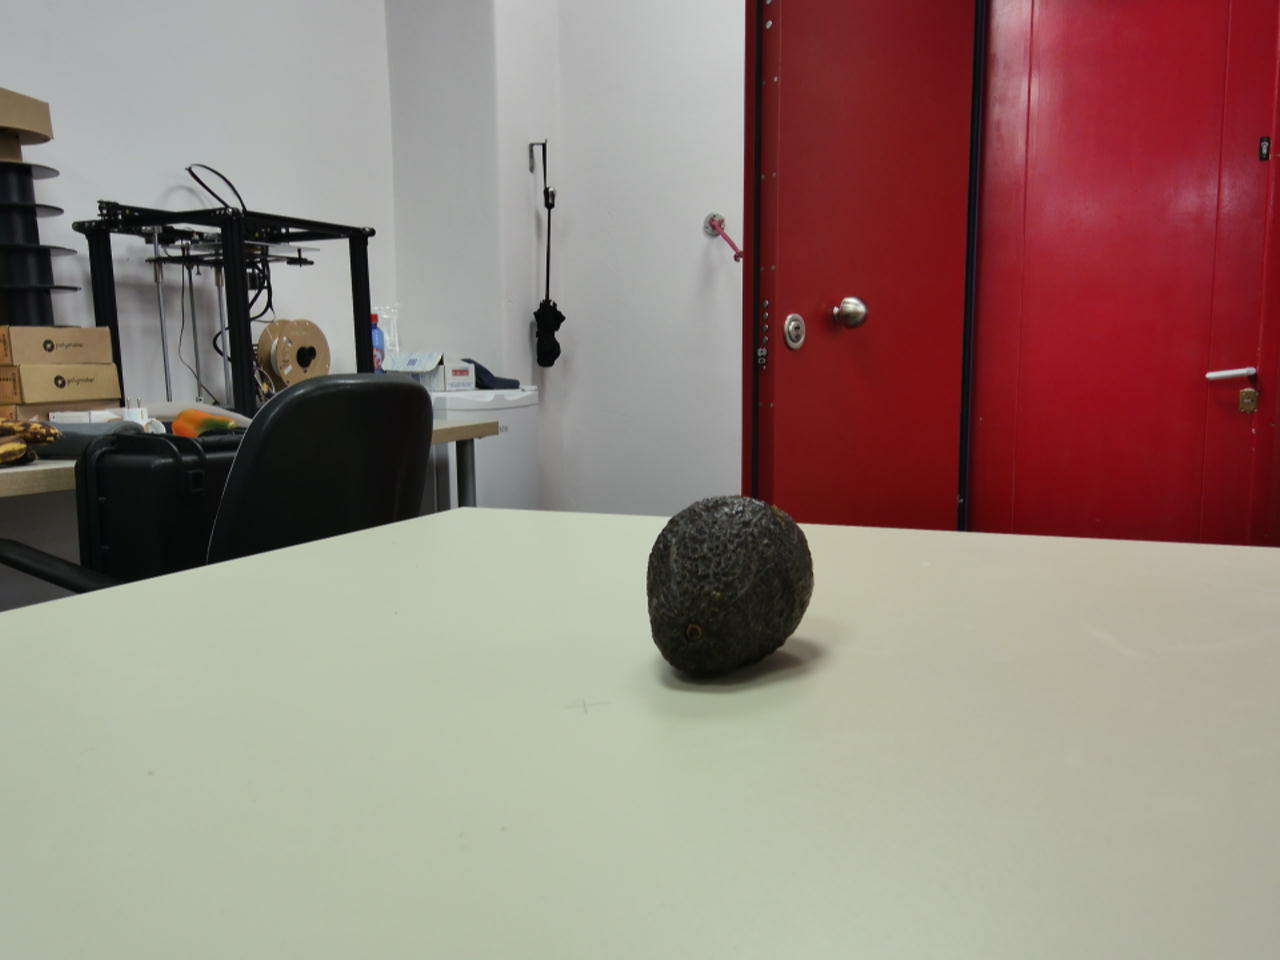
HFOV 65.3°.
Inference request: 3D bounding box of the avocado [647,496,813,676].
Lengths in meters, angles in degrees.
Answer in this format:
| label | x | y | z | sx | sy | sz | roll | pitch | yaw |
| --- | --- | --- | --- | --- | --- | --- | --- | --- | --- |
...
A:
| label | x | y | z | sx | sy | sz | roll | pitch | yaw |
| --- | --- | --- | --- | --- | --- | --- | --- | --- | --- |
| avocado | 0.034 | 0.042 | 0.423 | 0.090 | 0.069 | 0.070 | -3 | 4 | -40 |
